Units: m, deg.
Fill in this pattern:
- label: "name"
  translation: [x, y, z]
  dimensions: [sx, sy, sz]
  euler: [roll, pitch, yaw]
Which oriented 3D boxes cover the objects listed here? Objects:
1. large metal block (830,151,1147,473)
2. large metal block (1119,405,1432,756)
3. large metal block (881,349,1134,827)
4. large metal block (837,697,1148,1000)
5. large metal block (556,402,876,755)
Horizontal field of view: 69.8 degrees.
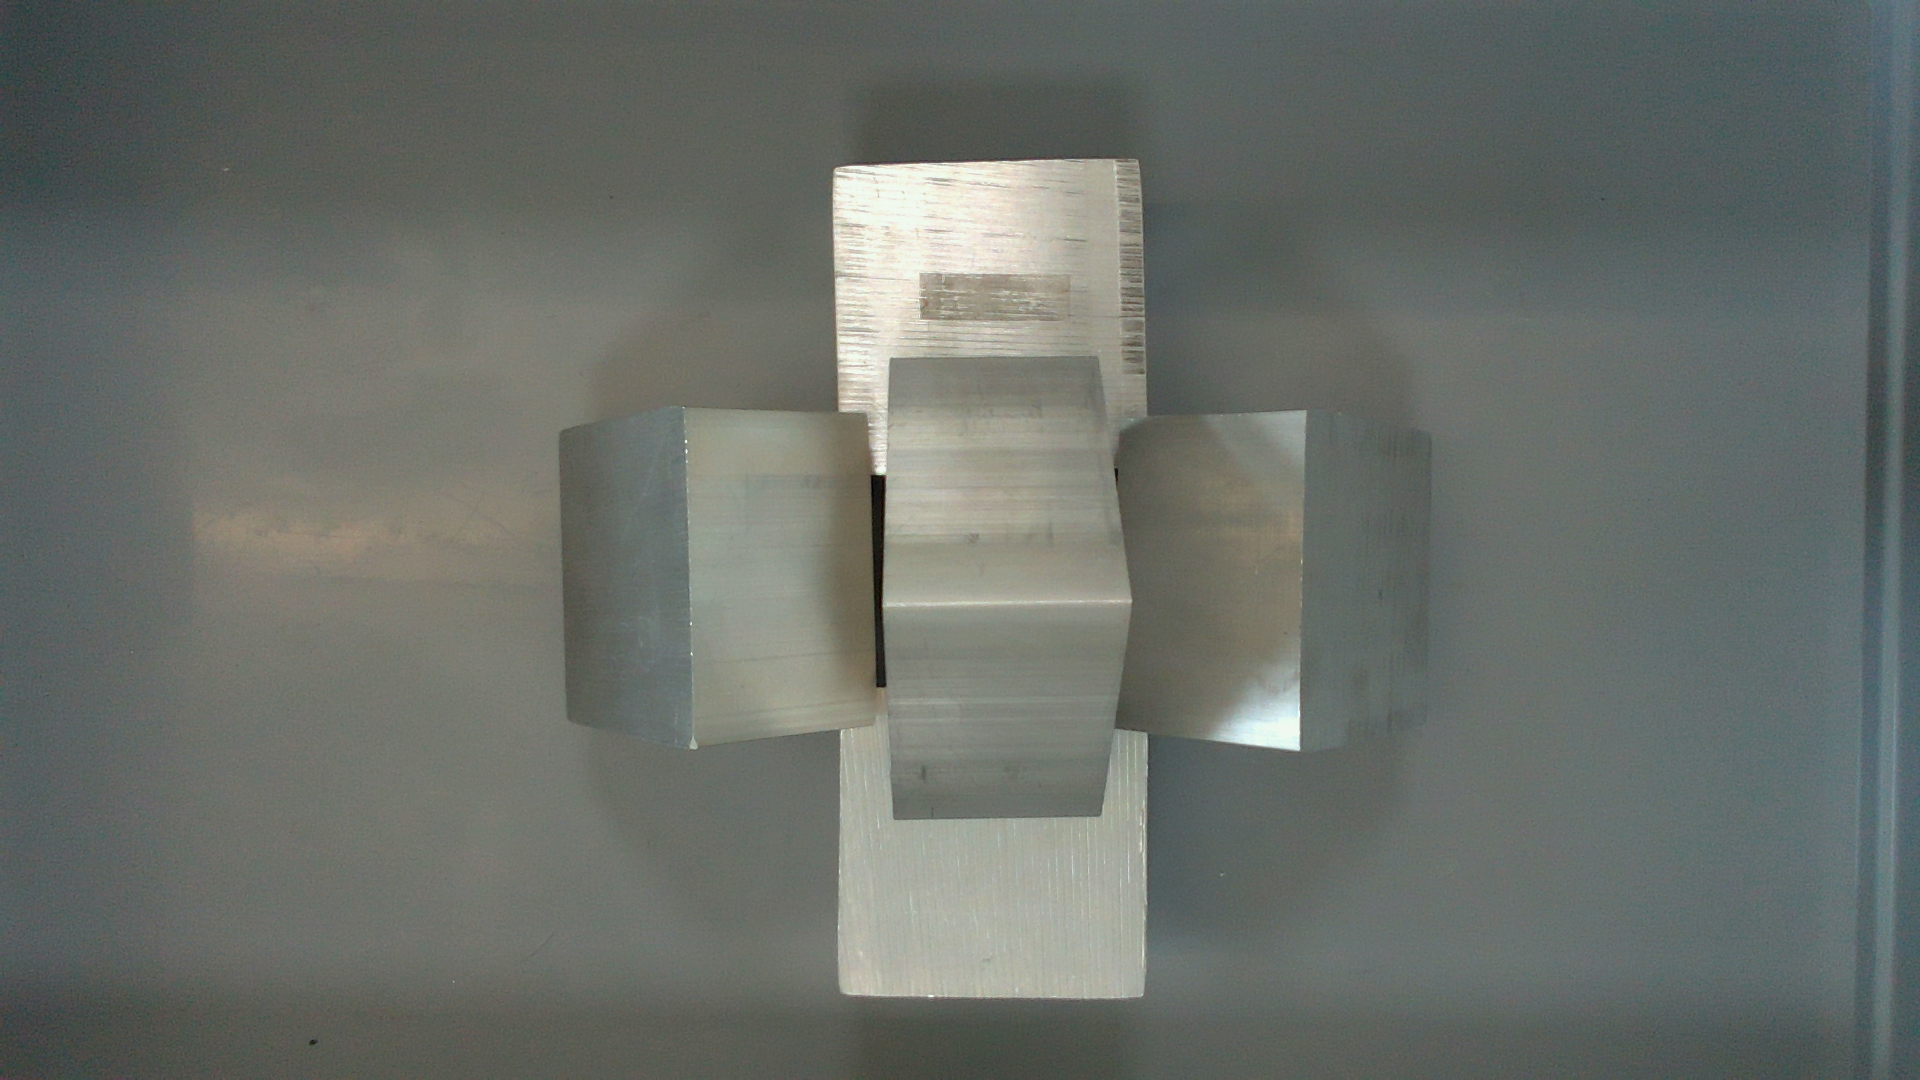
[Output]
- label: "large metal block"
  translation: [0.008, -0.059, 0.379]
  dimensions: [0.080, 0.050, 0.080]
  euler: [-2, 90, 0]
- label: "large metal block"
  translation: [0.084, 0.009, 0.360]
  dimensions: [0.050, 0.080, 0.080]
  euler: [2, 91, 39]
- label: "large metal block"
  translation: [0.008, 0.011, 0.327]
  dimensions: [0.050, 0.080, 0.080]
  euler: [-1, 46, -1]
- label: "large metal block"
  translation: [0.009, 0.079, 0.382]
  dimensions: [0.080, 0.050, 0.080]
  euler: [1, 90, 0]
- label: "large metal block"
  translation: [-0.066, 0.008, 0.359]
  dimensions: [0.050, 0.080, 0.080]
  euler: [-2, 91, -36]
